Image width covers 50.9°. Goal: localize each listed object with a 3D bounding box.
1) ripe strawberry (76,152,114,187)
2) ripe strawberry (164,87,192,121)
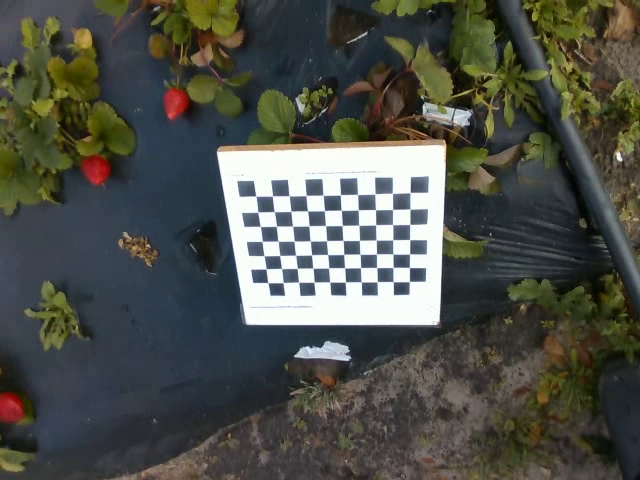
[{"bbox_3d":[-0.320,-0.094,0.952,0.050,0.050,0.046,-4,-41,-1],"label":"ripe strawberry"},{"bbox_3d":[-0.197,-0.179,0.903,0.044,0.052,0.041,15,-15,-13],"label":"ripe strawberry"}]
